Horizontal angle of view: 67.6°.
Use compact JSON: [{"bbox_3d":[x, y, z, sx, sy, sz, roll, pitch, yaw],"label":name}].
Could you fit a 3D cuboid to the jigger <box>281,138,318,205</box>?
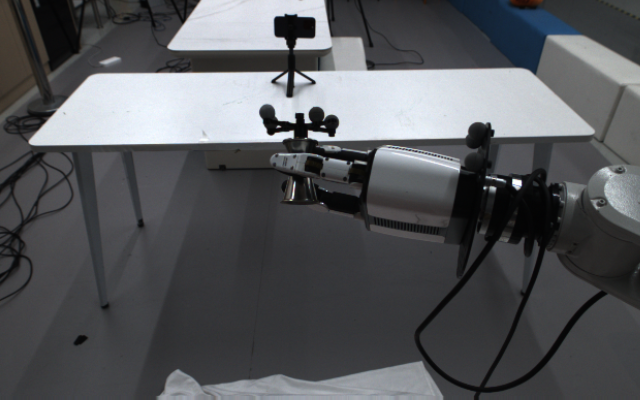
[{"bbox_3d":[-0.022,-0.030,0.529,0.043,0.071,0.043,1,-5,0],"label":"jigger"}]
